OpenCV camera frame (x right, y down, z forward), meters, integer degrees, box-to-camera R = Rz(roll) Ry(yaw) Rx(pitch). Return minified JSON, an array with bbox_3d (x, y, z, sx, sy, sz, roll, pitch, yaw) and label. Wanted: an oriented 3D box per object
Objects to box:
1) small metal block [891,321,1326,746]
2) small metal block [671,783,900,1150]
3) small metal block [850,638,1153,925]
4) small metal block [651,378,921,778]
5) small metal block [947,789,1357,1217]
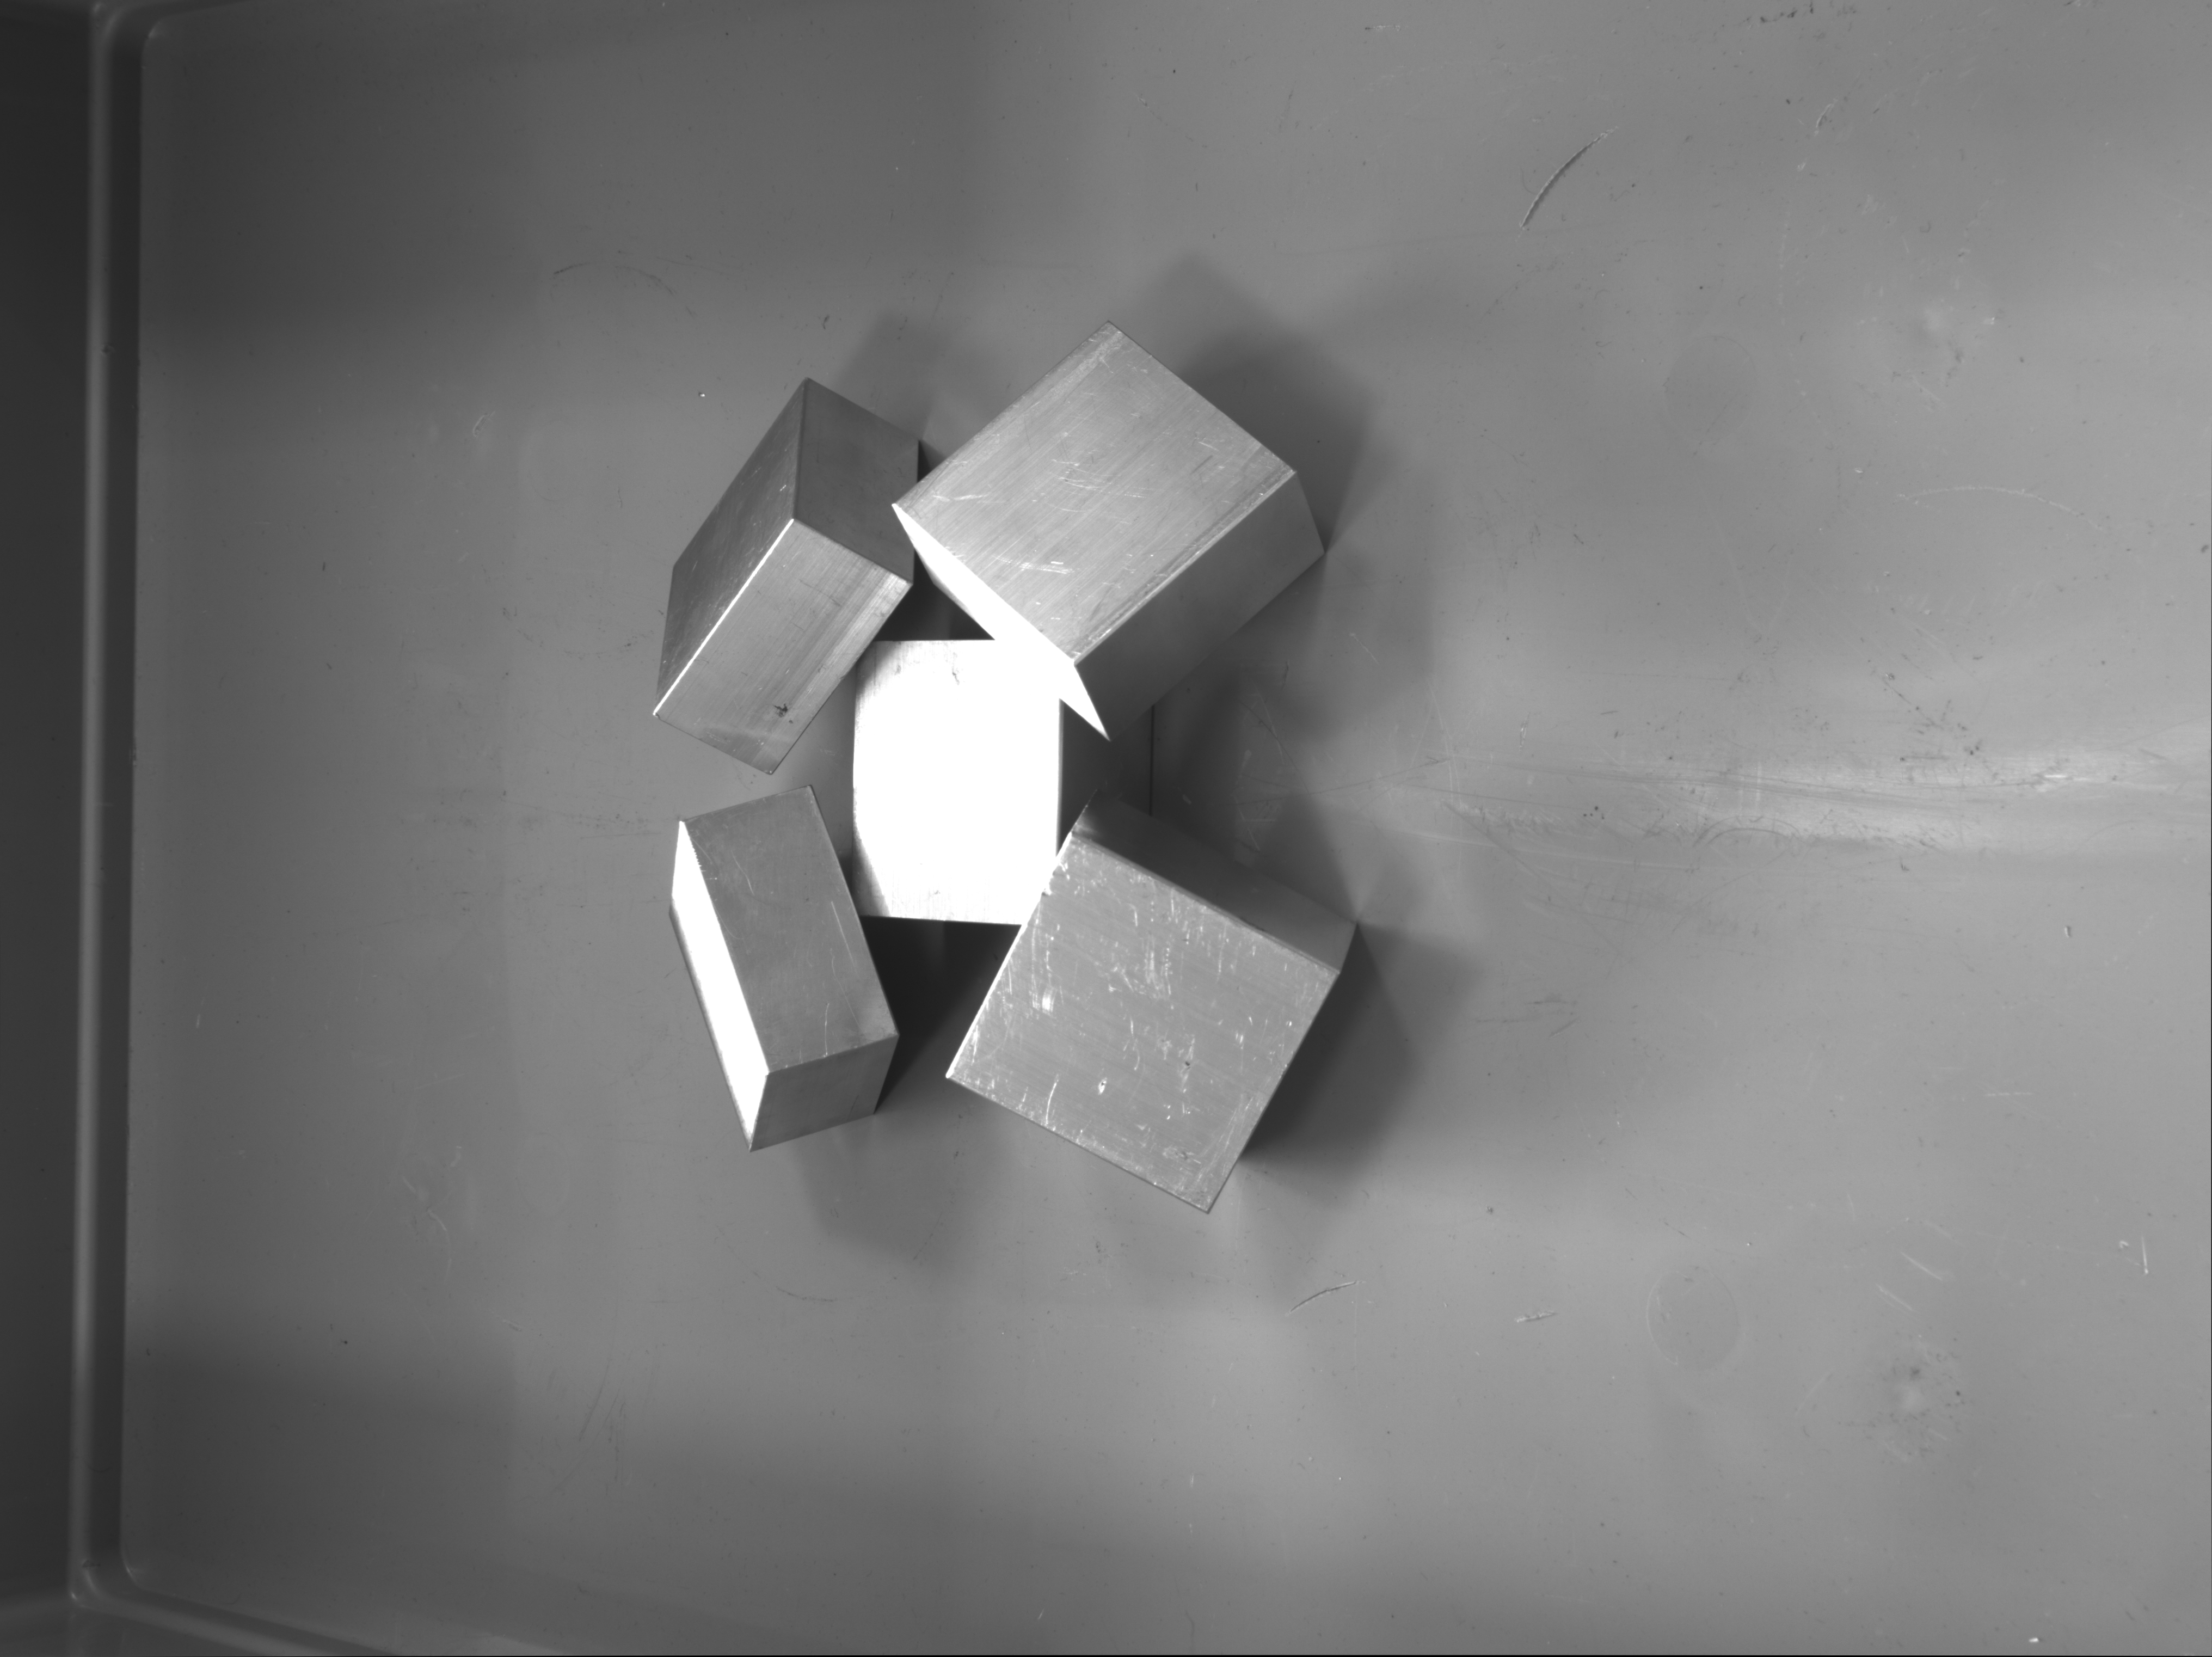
[{"bbox_3d":[0.001,-0.051,0.627,0.050,0.025,0.050,-42,58,-10],"label":"small metal block"},{"bbox_3d":[-0.060,0.026,0.678,0.050,0.025,0.050,113,139,-68],"label":"small metal block"},{"bbox_3d":[-0.019,-0.009,0.658,0.050,0.025,0.050,2,91,40],"label":"small metal block"},{"bbox_3d":[-0.059,-0.046,0.676,0.050,0.025,0.050,-51,23,29],"label":"small metal block"},{"bbox_3d":[0.008,0.029,0.621,0.050,0.025,0.050,27,110,1],"label":"small metal block"}]
